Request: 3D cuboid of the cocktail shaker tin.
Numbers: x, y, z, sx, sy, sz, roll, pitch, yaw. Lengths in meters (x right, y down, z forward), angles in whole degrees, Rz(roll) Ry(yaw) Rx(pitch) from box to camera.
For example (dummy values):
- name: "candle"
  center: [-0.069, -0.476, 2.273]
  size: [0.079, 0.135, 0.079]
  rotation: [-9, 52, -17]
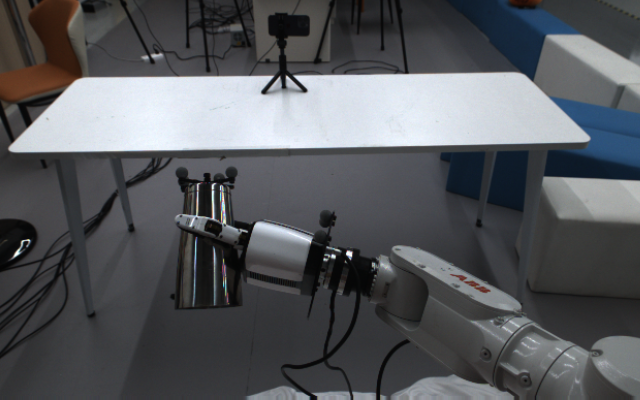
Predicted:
- name: "cocktail shaker tin"
  center: [-0.159, 0.066, 0.684]
  size: [0.093, 0.093, 0.170]
  rotation: [-3, 76, -7]
